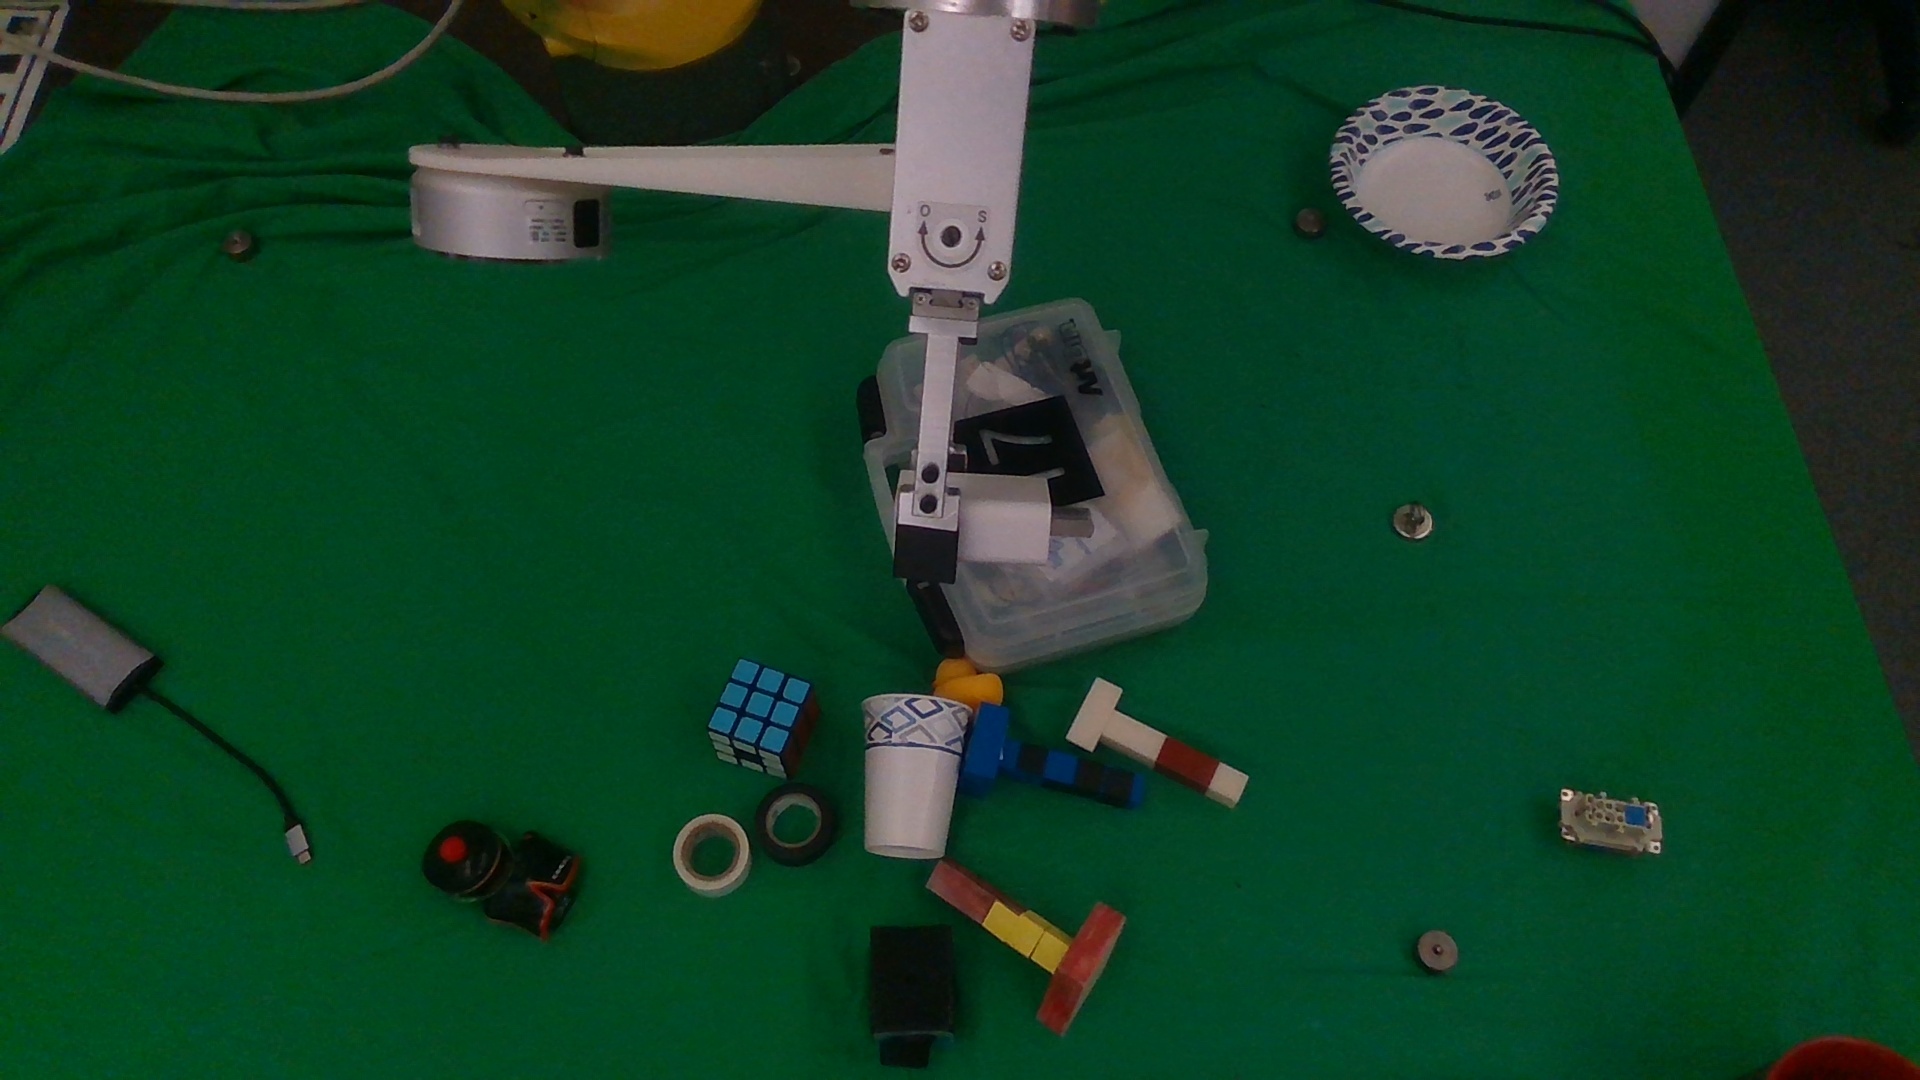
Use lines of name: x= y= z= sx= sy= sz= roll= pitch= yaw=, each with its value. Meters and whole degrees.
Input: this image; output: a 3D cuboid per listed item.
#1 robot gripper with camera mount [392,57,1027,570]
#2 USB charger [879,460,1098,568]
robot gripper with camera mount: x=-0.086 y=-0.077 z=0.448 sx=0.193 sy=0.158 sz=0.119 roll=5 pitch=21 yaw=-2
USB charger: x=0.009 y=-0.008 z=0.487 sx=0.075 sy=0.029 sz=0.045 roll=4 pitch=20 yaw=-3
